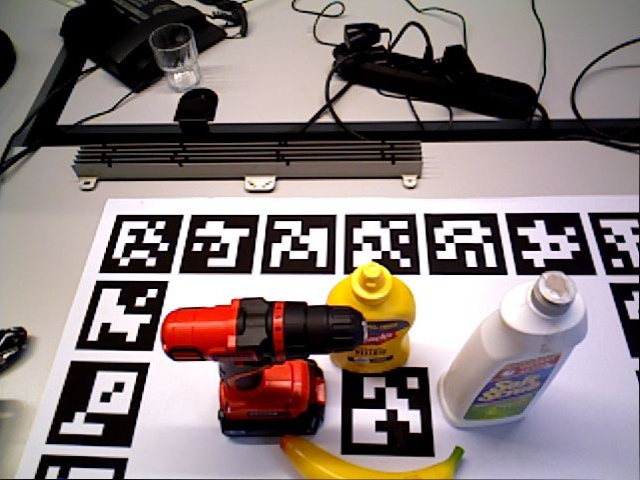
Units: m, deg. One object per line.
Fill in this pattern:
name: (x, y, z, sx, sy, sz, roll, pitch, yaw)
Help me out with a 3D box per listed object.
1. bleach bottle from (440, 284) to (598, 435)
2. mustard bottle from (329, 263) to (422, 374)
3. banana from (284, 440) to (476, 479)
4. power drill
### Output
bleach bottle: (0.183, 0.116, 0.507, 0.102, 0.255, 0.067, -6, 57, -1)
mustard bottle: (0.057, 0.079, 0.566, 0.096, 0.195, 0.057, 2, 56, 3)
banana: (0.059, 0.239, 0.551, 0.197, 0.039, 0.073, 2, 61, 8)
power drill: (-0.047, 0.117, 0.526, 0.184, 0.191, 0.056, 0, 49, 0)
